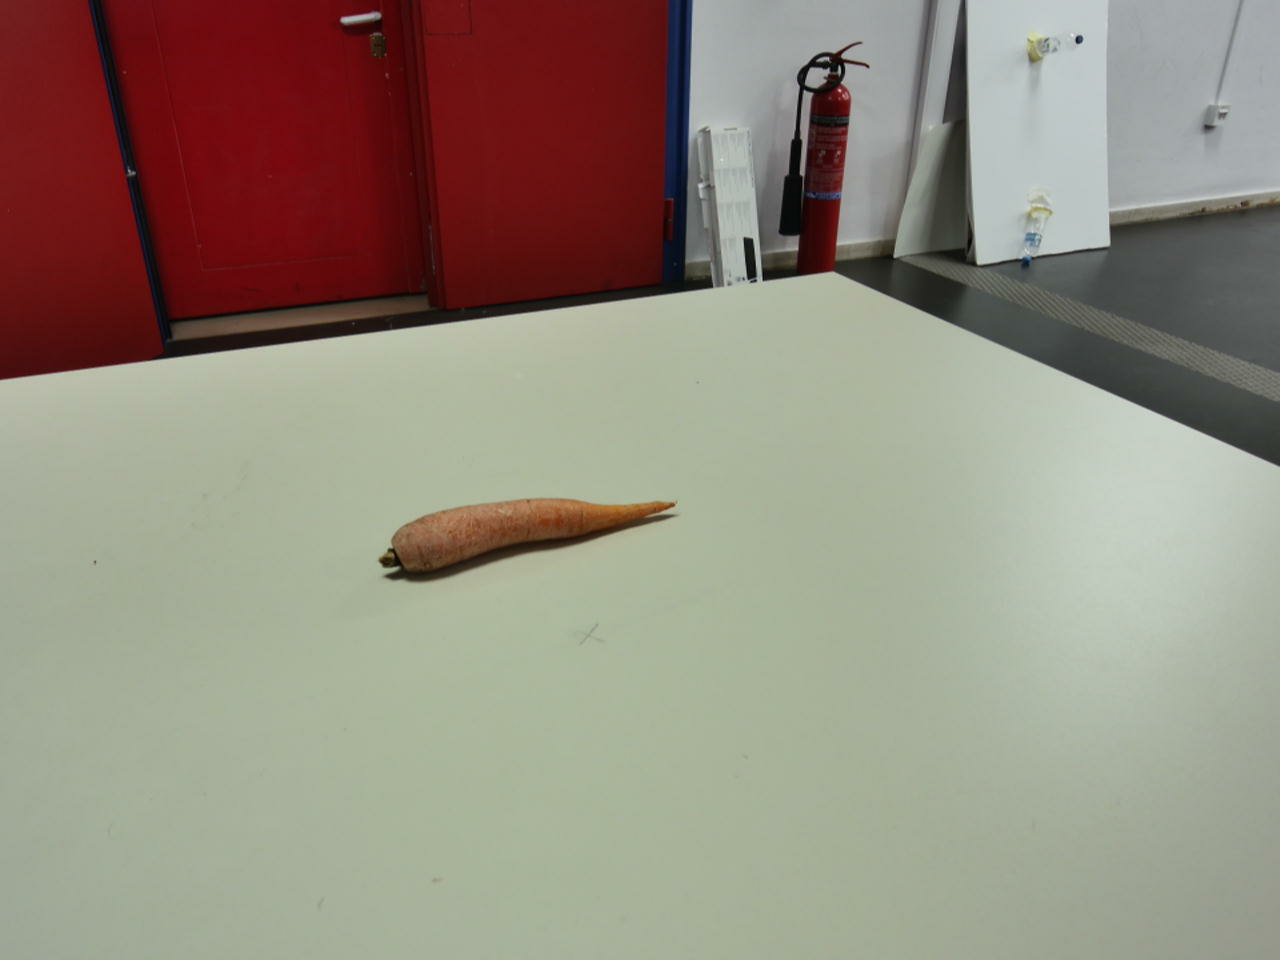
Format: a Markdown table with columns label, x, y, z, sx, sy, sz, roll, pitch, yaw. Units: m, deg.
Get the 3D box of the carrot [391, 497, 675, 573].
| label | x | y | z | sx | sy | sz | roll | pitch | yaw |
| --- | --- | --- | --- | --- | --- | --- | --- | --- | --- |
| carrot | -0.056 | 0.022 | 0.539 | 0.163 | 0.029 | 0.031 | -11 | 28 | -22 |
